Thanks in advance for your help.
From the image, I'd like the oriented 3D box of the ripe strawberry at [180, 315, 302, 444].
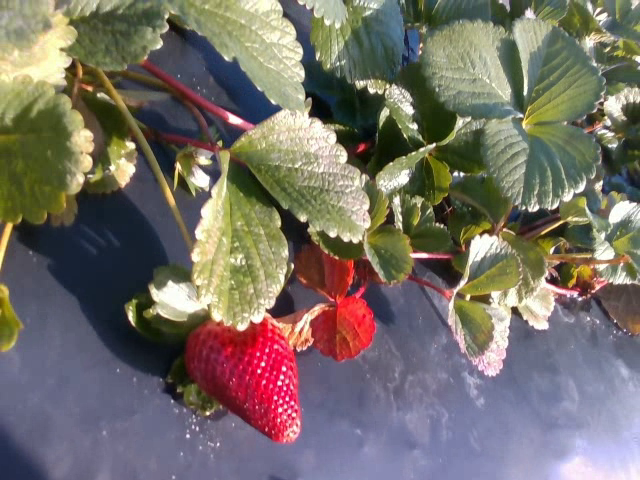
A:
[{"bbox_3d":[-0.024,0.048,0.208,0.040,0.056,0.041,-27,-31,-20],"label":"ripe strawberry"}]
